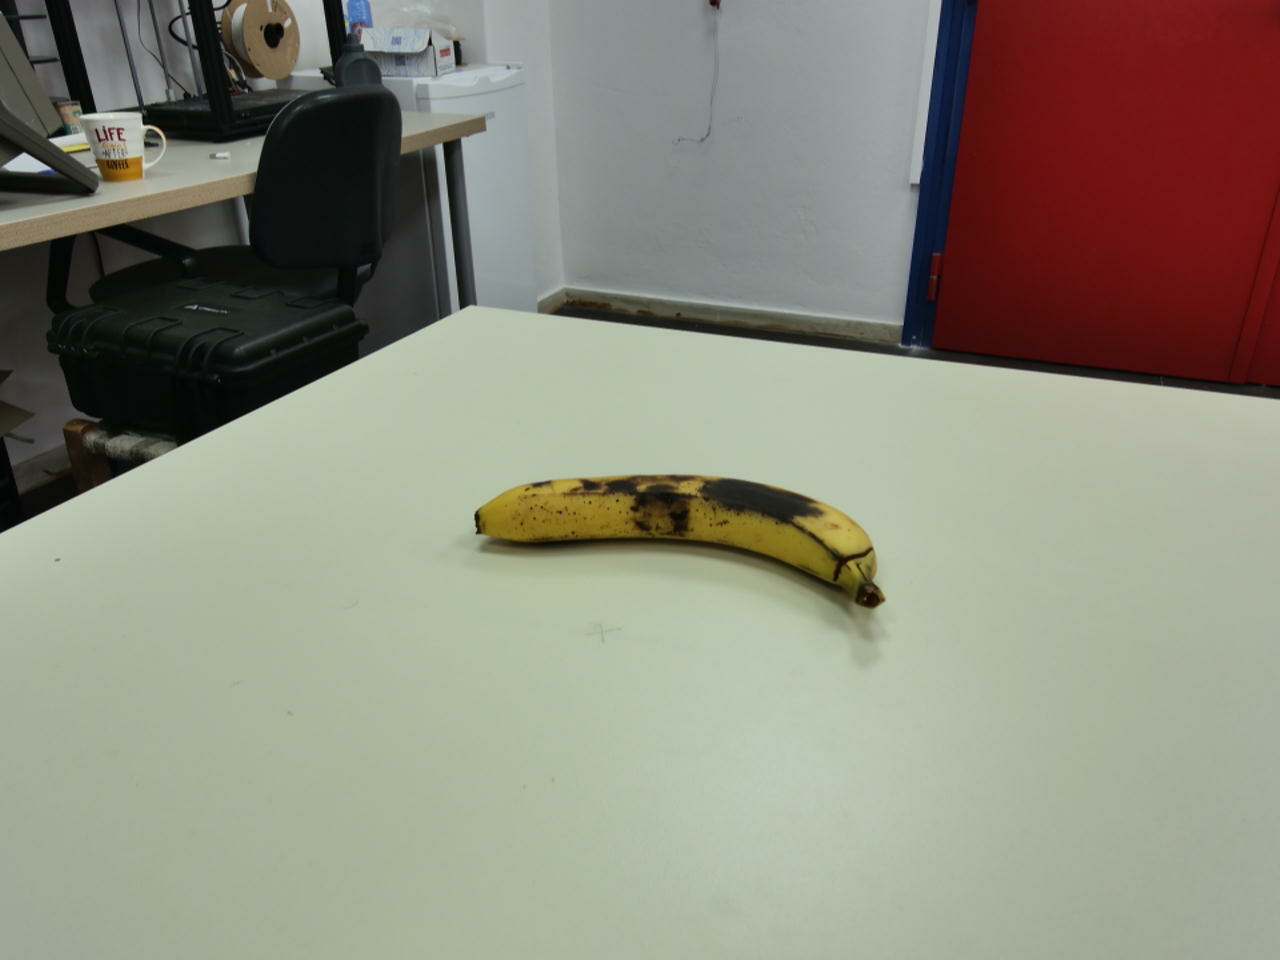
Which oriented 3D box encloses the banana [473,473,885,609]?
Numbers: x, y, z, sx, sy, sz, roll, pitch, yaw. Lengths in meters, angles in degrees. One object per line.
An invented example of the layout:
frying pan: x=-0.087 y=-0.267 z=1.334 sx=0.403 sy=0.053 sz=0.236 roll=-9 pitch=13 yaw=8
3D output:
banana: x=0.025 y=0.024 z=0.529 sx=0.222 sy=0.037 sz=0.084 roll=11 pitch=27 yaw=23
